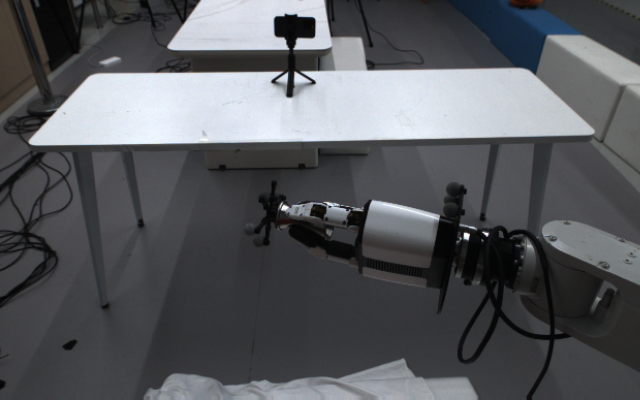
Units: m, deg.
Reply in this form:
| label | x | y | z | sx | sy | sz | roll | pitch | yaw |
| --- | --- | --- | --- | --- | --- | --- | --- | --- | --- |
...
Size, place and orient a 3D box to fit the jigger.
| label | x | y | z | sx | sy | sz | roll | pitch | yaw |
| --- | --- | --- | --- | --- | --- | --- | --- | --- | --- |
| jigger | -0.012 | 0.022 | 0.631 | 0.071 | 0.043 | 0.043 | 9 | 35 | 16 |
